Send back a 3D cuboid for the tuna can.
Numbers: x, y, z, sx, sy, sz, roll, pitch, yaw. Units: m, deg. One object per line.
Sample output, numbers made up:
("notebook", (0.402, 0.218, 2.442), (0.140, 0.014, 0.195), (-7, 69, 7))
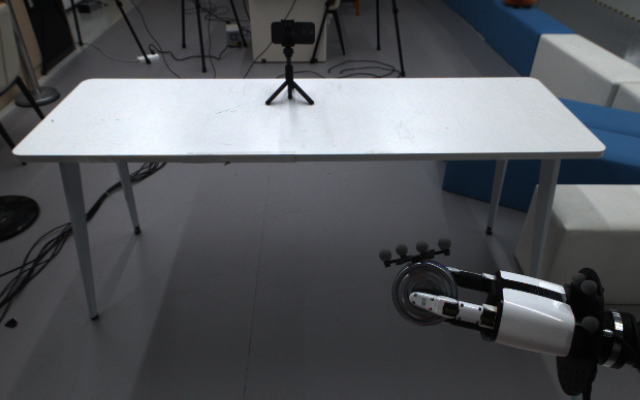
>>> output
("tuna can", (0.142, 0.121, 0.645), (0.085, 0.085, 0.034), (12, 3, 14))
